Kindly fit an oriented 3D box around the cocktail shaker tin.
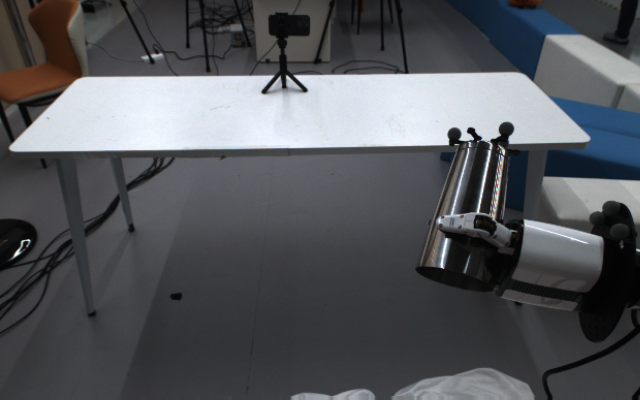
[{"bbox_3d":[0.183,0.017,0.594,0.093,0.093,0.170,14,73,16],"label":"cocktail shaker tin"}]
